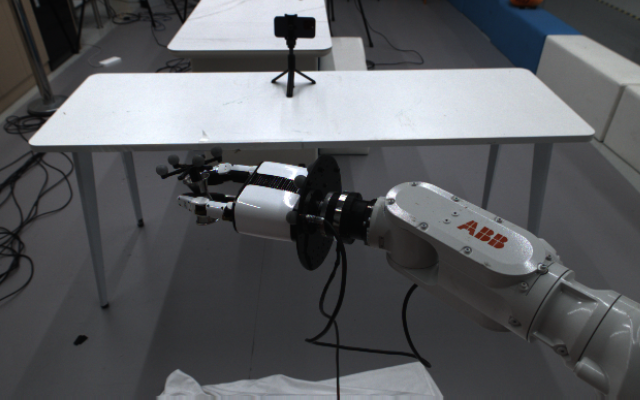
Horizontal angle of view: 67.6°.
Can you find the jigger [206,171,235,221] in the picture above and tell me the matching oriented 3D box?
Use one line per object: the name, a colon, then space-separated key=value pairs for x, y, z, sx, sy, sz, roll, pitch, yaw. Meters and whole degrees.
jigger: x=-0.172 y=-0.002 z=0.721 sx=0.043 sy=0.071 sz=0.043 roll=-11 pitch=25 yaw=5
